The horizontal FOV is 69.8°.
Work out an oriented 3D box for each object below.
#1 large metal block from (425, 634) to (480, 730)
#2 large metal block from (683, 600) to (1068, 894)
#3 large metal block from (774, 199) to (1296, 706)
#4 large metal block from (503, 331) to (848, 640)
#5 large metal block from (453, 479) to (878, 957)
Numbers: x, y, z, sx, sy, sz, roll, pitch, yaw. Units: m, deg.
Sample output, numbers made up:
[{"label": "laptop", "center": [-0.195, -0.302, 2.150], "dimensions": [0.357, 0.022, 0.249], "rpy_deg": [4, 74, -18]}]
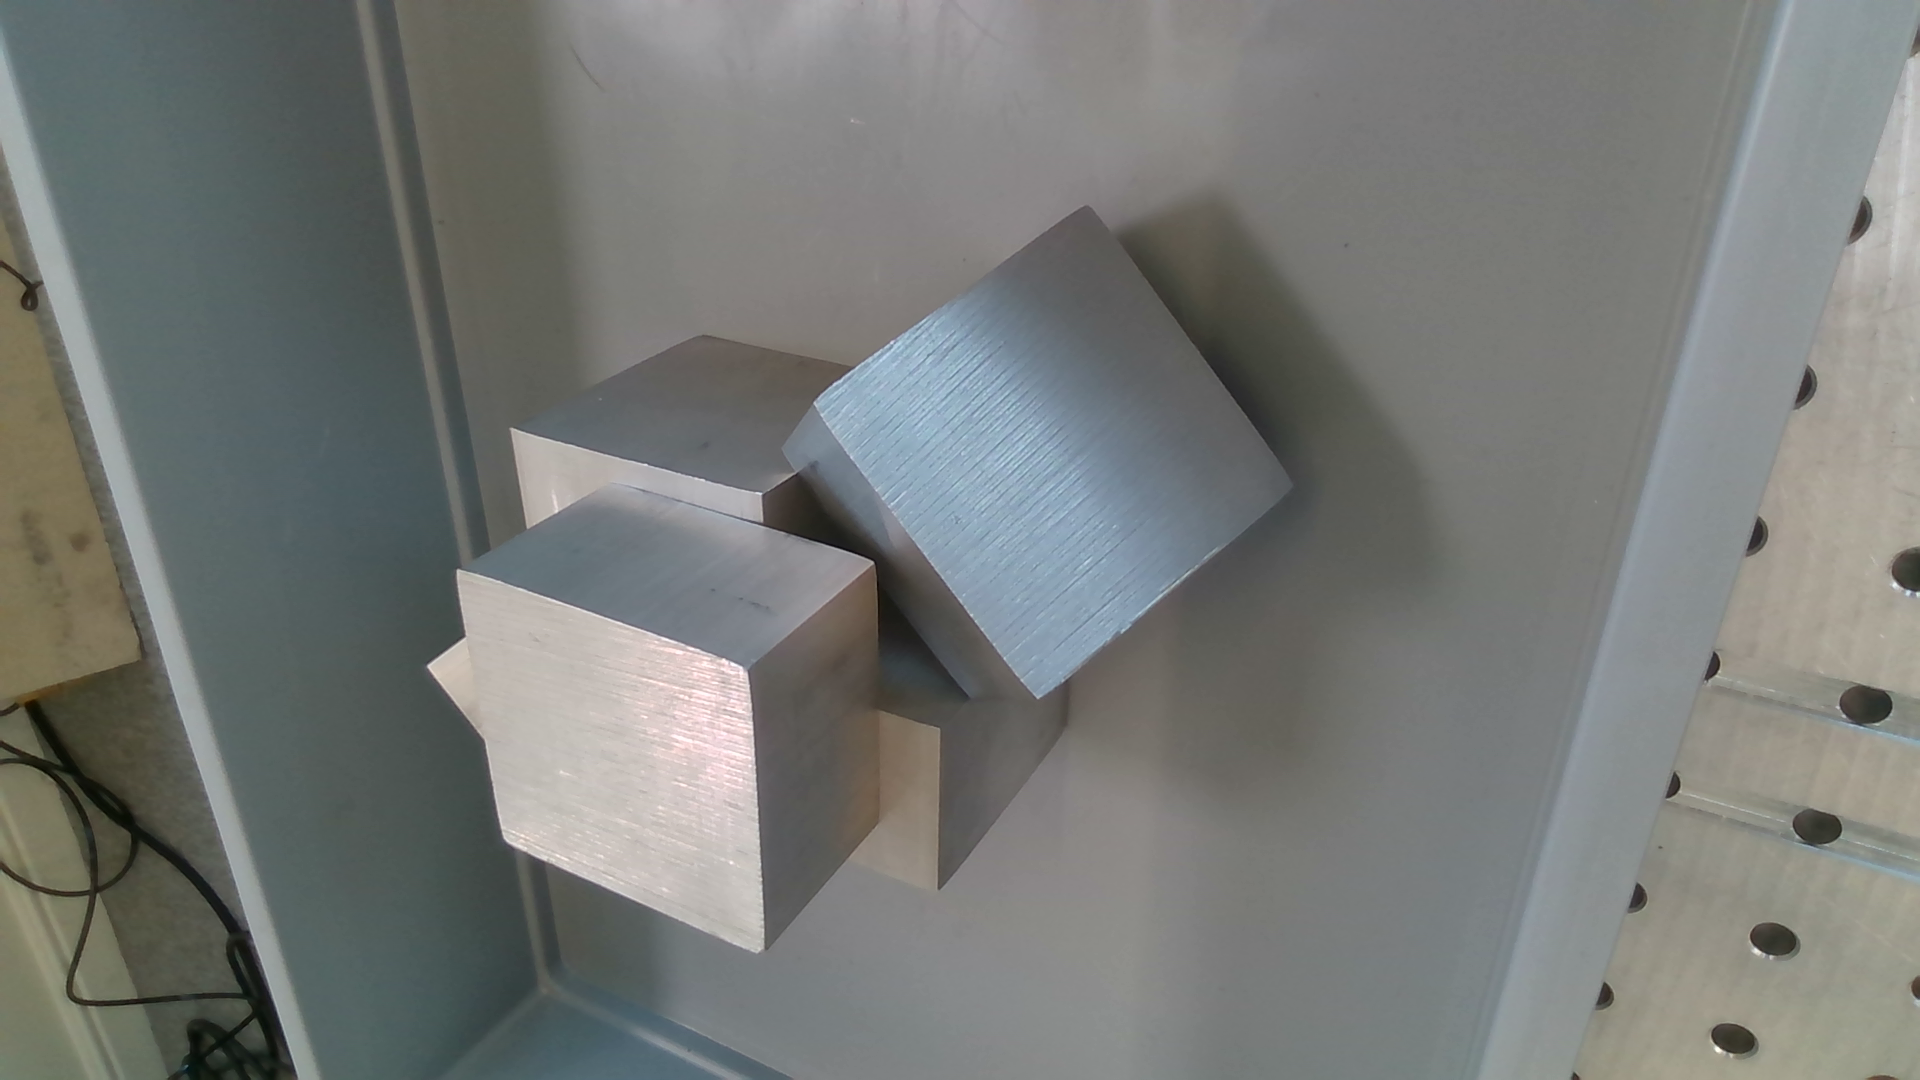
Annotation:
[{"label": "large metal block", "center": [-0.110, 0.049, 0.436], "dimensions": [0.050, 0.080, 0.080], "rpy_deg": [-36, 95, 4]}, {"label": "large metal block", "center": [-0.022, 0.042, 0.387], "dimensions": [0.080, 0.080, 0.050], "rpy_deg": [15, 122, 24]}, {"label": "large metal block", "center": [0.016, -0.018, 0.323], "dimensions": [0.080, 0.080, 0.050], "rpy_deg": [53, 164, -4]}, {"label": "large metal block", "center": [-0.065, -0.016, 0.383], "dimensions": [0.080, 0.080, 0.050], "rpy_deg": [15, 122, 24]}, {"label": "large metal block", "center": [-0.067, 0.040, 0.331], "dimensions": [0.080, 0.050, 0.080], "rpy_deg": [16, 122, 24]}]
